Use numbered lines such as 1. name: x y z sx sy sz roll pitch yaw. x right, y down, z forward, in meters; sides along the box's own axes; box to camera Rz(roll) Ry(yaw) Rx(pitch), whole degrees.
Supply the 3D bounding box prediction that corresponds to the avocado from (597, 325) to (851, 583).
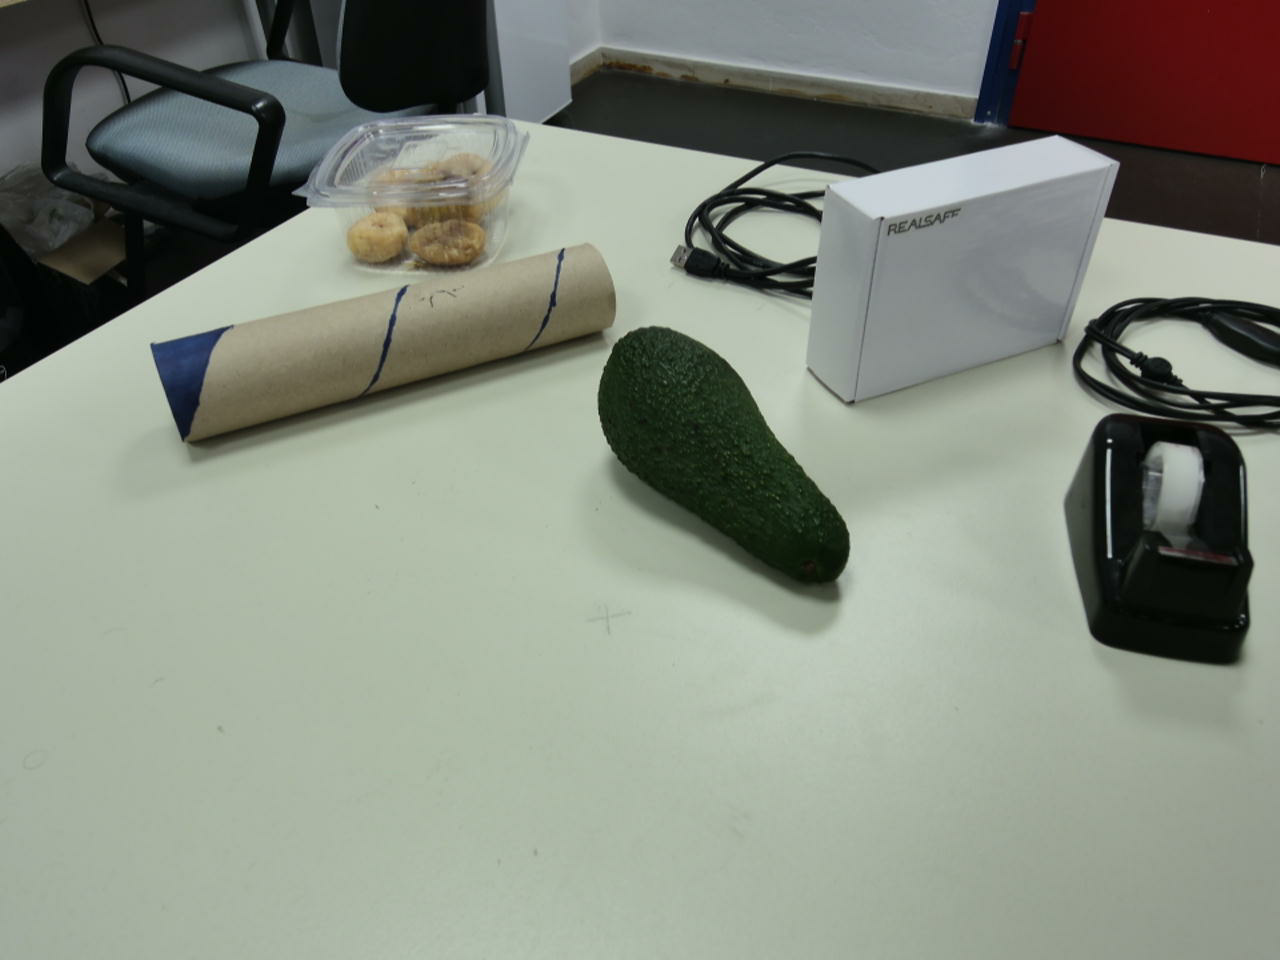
1. avocado: 0.037 -0.018 0.418 0.141 0.067 0.063 28 46 33
